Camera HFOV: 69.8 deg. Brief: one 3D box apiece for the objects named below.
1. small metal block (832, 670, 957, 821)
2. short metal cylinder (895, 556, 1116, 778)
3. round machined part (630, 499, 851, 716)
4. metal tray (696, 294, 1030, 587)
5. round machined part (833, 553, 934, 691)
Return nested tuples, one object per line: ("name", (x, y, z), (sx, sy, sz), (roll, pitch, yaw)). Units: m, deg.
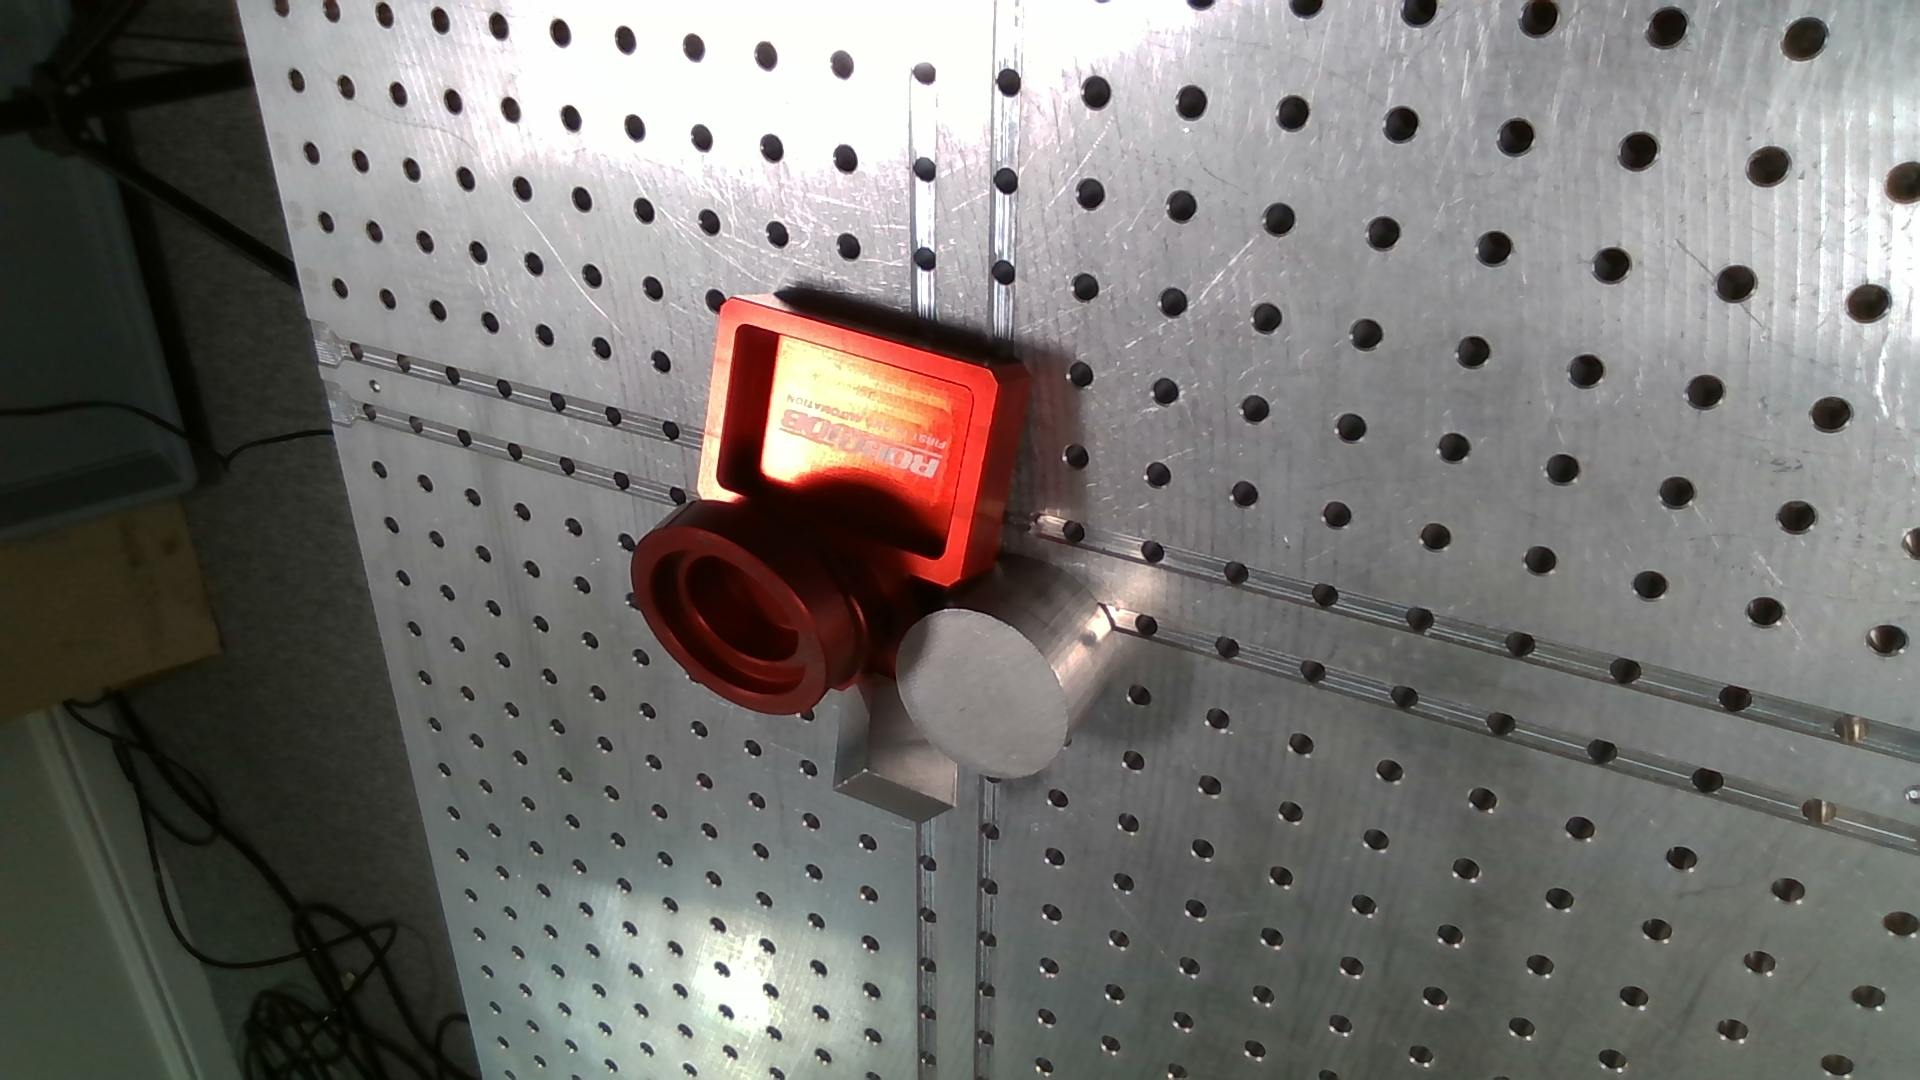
("small metal block", (-0.028, 0.094, 0.623), (0.050, 0.050, 0.025), (28, 136, -29))
("short metal cylinder", (0.020, 0.053, 0.583), (0.080, 0.050, 0.080), (14, 122, 25))
("round machined part", (-0.086, 0.023, 0.576), (0.098, 0.042, 0.098), (20, 134, 22))
("metal tray", (-0.043, -0.044, 0.568), (0.130, 0.030, 0.090), (18, 109, 22))
("round machined part", (-0.061, 0.028, 0.623), (0.098, 0.042, 0.098), (14, 122, 25))
